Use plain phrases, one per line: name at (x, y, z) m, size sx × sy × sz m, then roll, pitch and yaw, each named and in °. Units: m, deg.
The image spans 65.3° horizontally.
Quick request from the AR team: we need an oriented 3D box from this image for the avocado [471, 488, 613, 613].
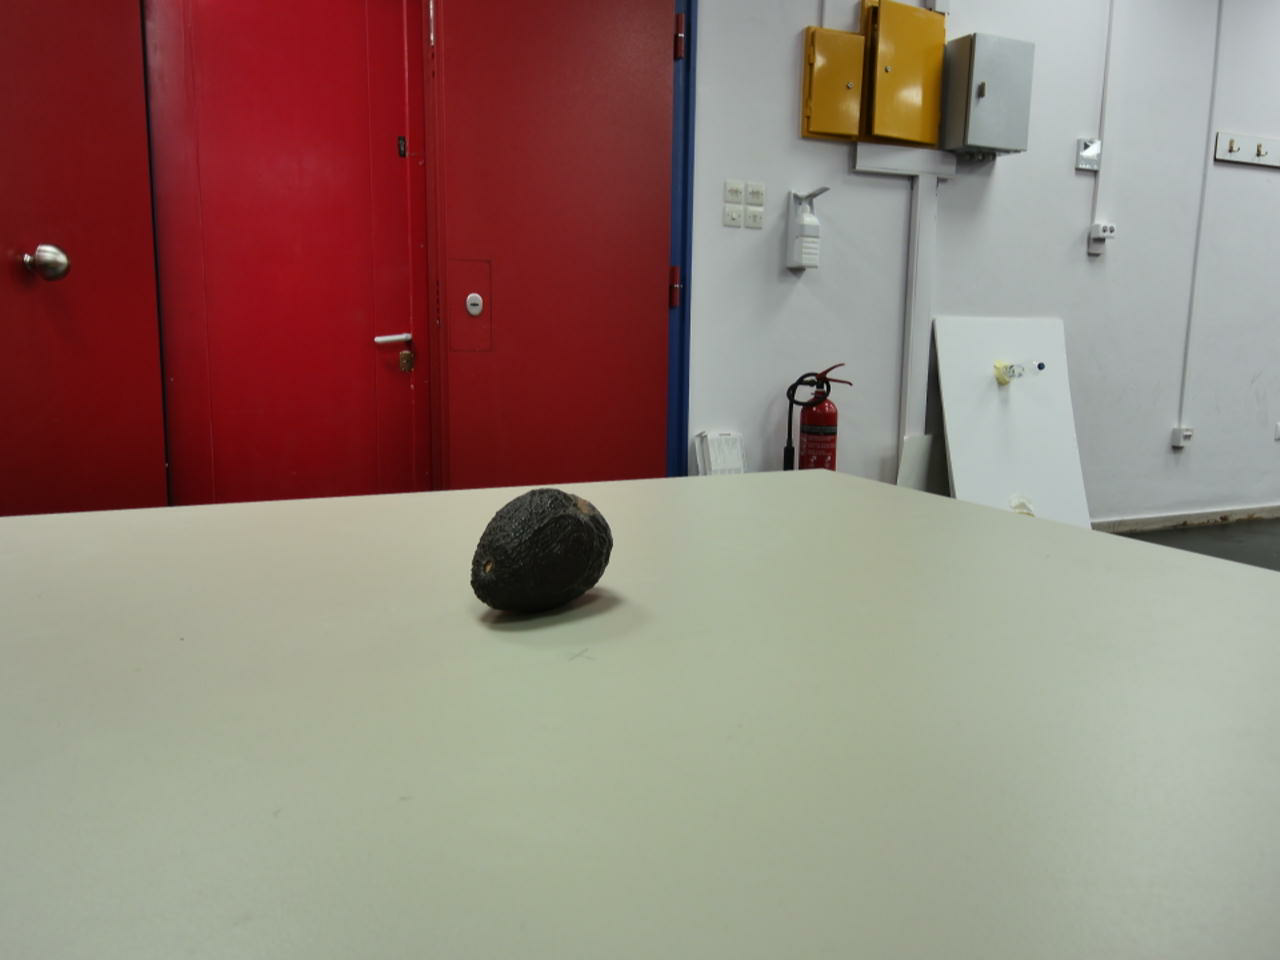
avocado at (-0.053, 0.036, 0.522) m, size 0.062 × 0.062 × 0.092 m, roll 6°, pitch 9°, yaw 41°
